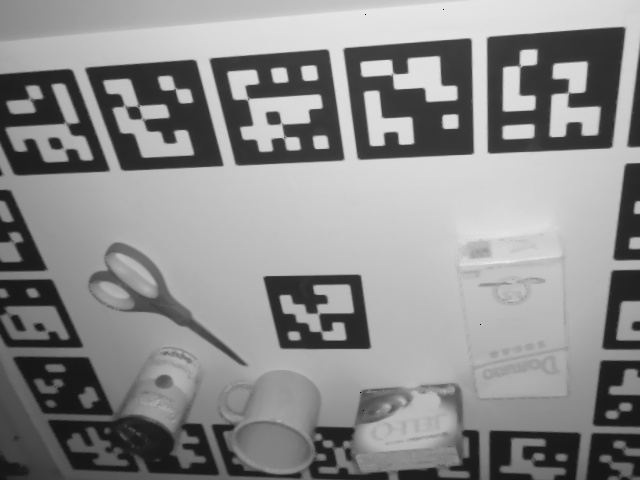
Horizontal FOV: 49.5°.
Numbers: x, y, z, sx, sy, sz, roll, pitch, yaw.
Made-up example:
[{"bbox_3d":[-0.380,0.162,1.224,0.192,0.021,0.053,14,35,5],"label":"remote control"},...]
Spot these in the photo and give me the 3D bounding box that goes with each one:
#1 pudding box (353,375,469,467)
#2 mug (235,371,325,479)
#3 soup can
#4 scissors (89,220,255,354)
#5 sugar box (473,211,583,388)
[{"bbox_3d":[0.098,0.190,0.729,0.113,0.091,0.038,-11,112,16],"label":"pudding box"},{"bbox_3d":[-0.046,0.193,0.763,0.092,0.082,0.117,-38,110,24],"label":"mug"},{"bbox_3d":[-0.165,0.164,0.762,0.068,0.103,0.067,4,123,7],"label":"soup can"},{"bbox_3d":[-0.151,0.064,0.739,0.203,0.016,0.087,39,109,-13],"label":"scissors"},{"bbox_3d":[0.203,0.062,0.670,0.092,0.046,0.175,-6,118,11],"label":"sugar box"}]
